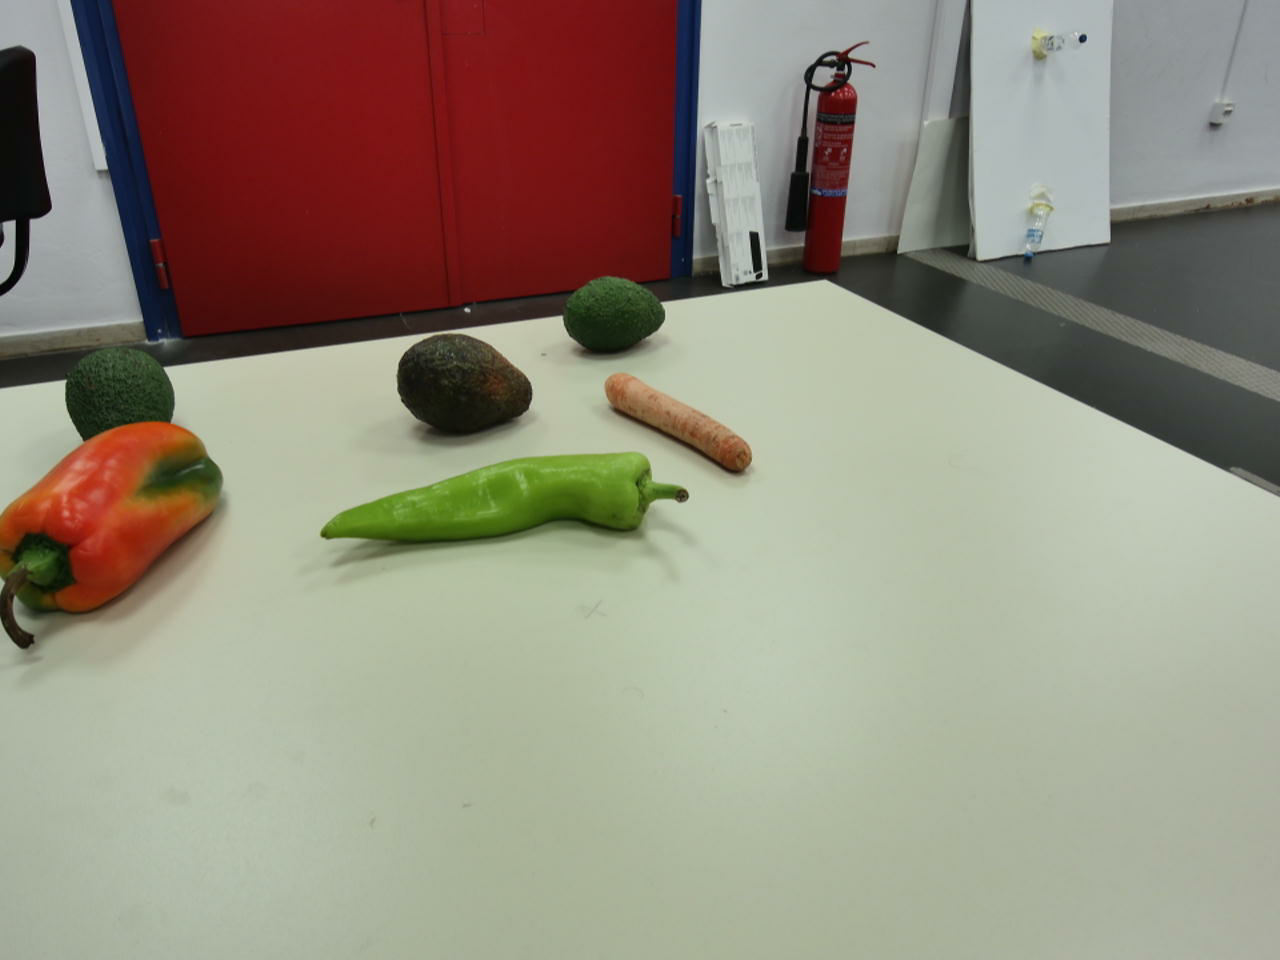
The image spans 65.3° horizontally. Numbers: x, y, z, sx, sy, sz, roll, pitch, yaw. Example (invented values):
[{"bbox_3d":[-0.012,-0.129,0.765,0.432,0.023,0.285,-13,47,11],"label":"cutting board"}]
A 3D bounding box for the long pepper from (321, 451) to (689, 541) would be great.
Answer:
[{"bbox_3d":[-0.076,0.011,0.581,0.204,0.045,0.065,-4,27,-8],"label":"long pepper"}]
